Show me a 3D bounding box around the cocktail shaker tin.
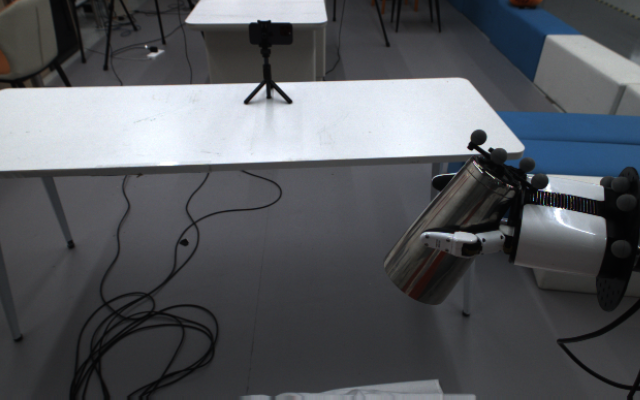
[{"bbox_3d":[0.161,0.030,0.582,0.093,0.170,0.093,25,29,-15],"label":"cocktail shaker tin"}]
